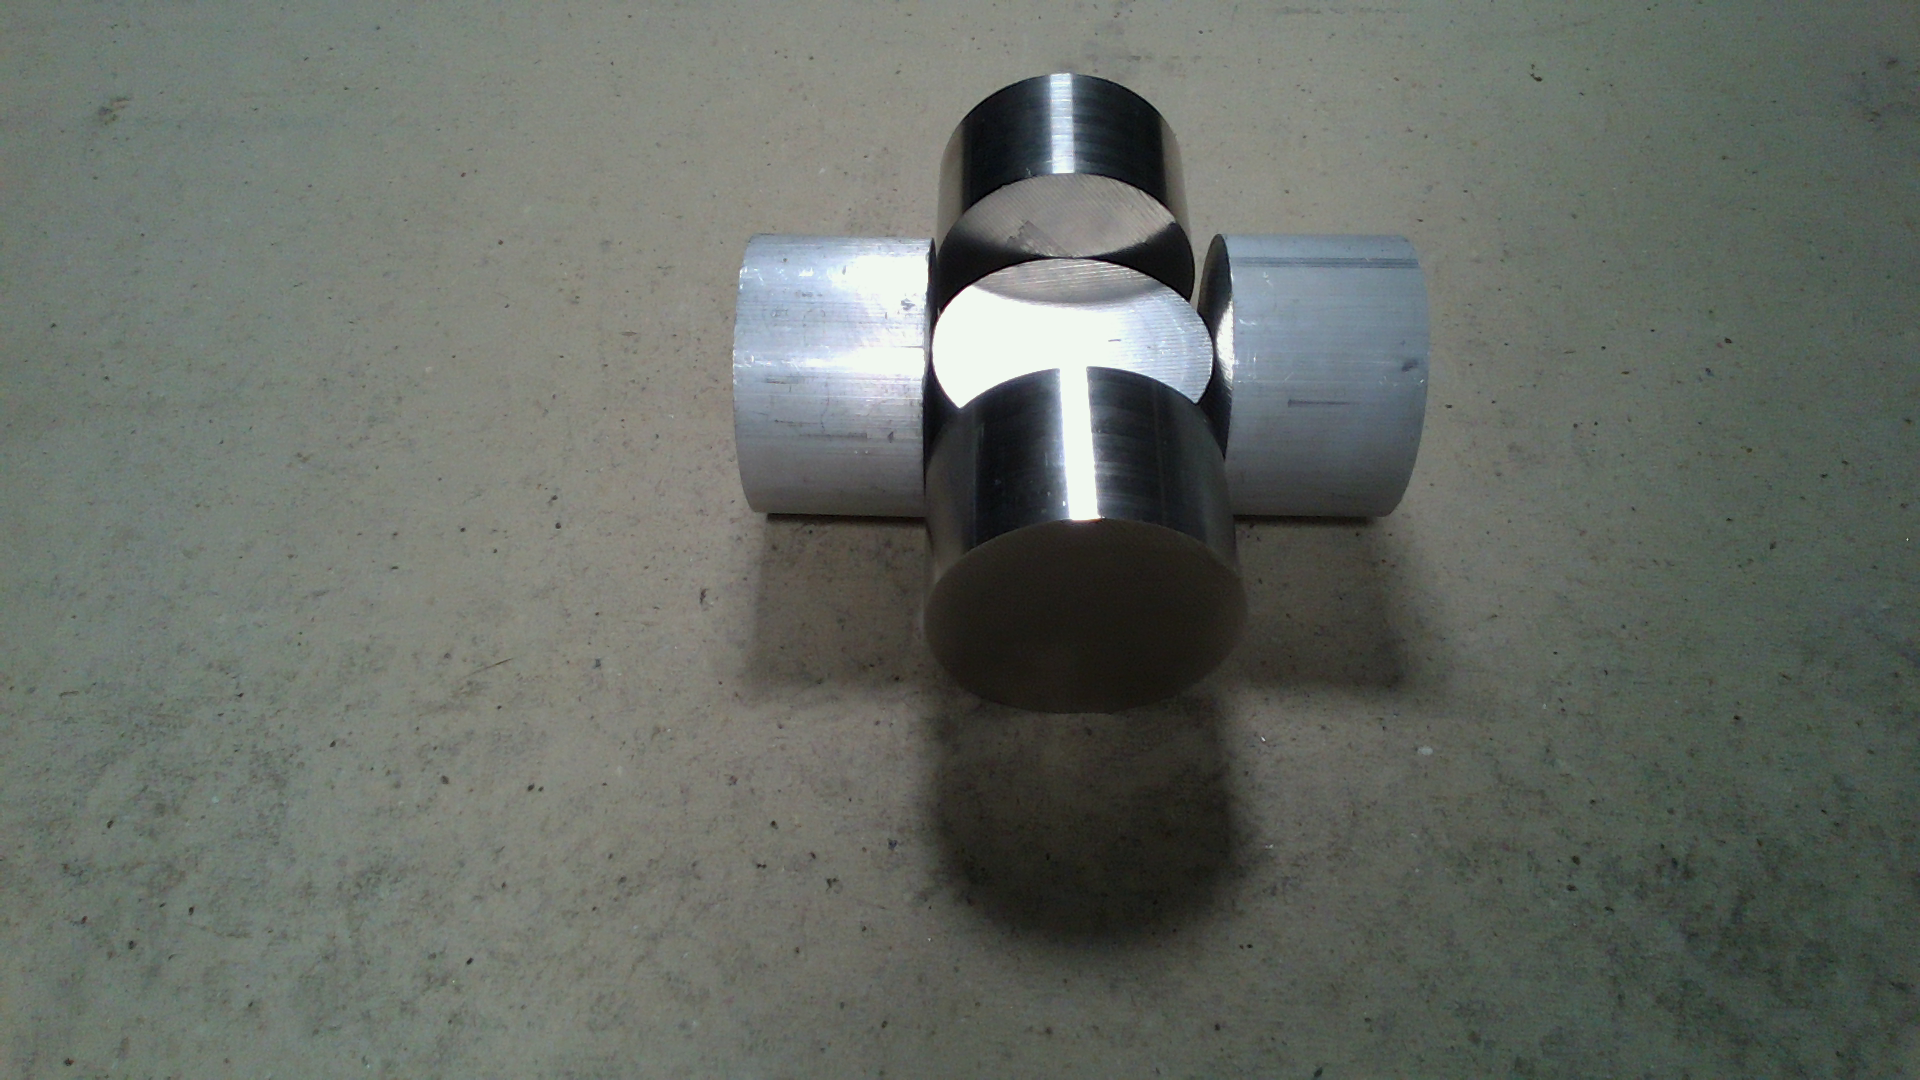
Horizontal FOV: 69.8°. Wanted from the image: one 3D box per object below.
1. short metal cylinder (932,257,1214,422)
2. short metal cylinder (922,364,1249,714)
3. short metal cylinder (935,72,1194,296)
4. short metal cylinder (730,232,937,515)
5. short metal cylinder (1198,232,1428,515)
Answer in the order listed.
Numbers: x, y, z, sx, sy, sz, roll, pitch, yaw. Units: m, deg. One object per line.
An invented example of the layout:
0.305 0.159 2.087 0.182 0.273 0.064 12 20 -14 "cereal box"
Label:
0.032 -0.039 0.408 0.080 0.050 0.080 0 50 0 "short metal cylinder"
0.031 0.001 0.354 0.080 0.080 0.050 0 49 0 "short metal cylinder"
0.032 -0.099 0.439 0.080 0.080 0.050 1 50 1 "short metal cylinder"
-0.033 -0.047 0.396 0.050 0.080 0.080 1 50 2 "short metal cylinder"
0.097 -0.047 0.396 0.050 0.080 0.080 1 50 2 "short metal cylinder"
